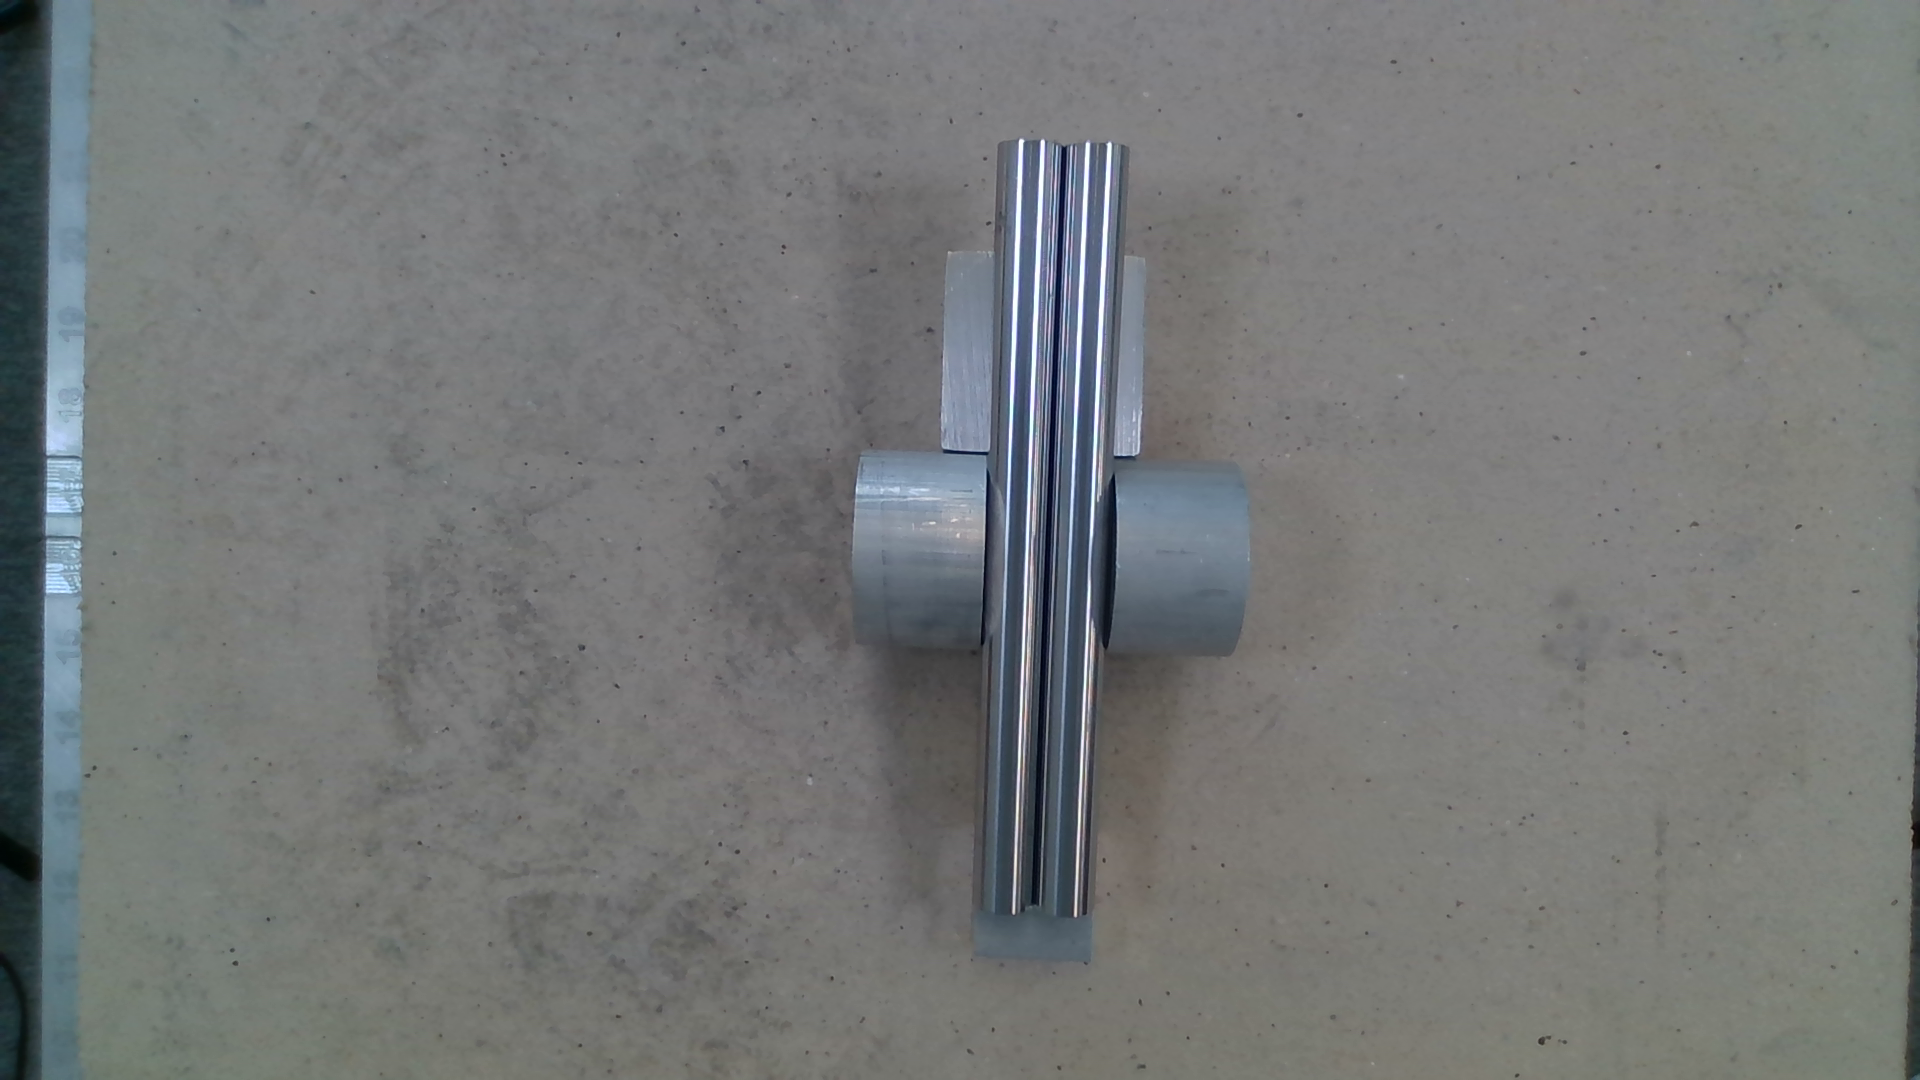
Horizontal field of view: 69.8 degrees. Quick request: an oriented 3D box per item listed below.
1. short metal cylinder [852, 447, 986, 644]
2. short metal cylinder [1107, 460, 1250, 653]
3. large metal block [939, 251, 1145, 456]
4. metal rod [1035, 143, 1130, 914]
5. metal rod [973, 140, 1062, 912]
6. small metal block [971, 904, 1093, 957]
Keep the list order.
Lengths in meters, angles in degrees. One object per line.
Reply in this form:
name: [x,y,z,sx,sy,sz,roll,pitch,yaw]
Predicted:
short metal cylinder: [-0.016,0.003,0.560,0.050,0.080,0.080,1,90,0]
short metal cylinder: [0.085,0.007,0.560,0.050,0.080,0.080,1,90,0]
large metal block: [0.033,-0.074,0.575,0.080,0.050,0.080,2,90,0]
metal rod: [0.047,0.000,0.543,0.025,0.025,0.300,2,98,0]
metal rod: [0.022,-0.001,0.543,0.025,0.025,0.300,2,98,0]
small metal block: [0.031,0.149,0.589,0.050,0.025,0.050,3,90,0]
